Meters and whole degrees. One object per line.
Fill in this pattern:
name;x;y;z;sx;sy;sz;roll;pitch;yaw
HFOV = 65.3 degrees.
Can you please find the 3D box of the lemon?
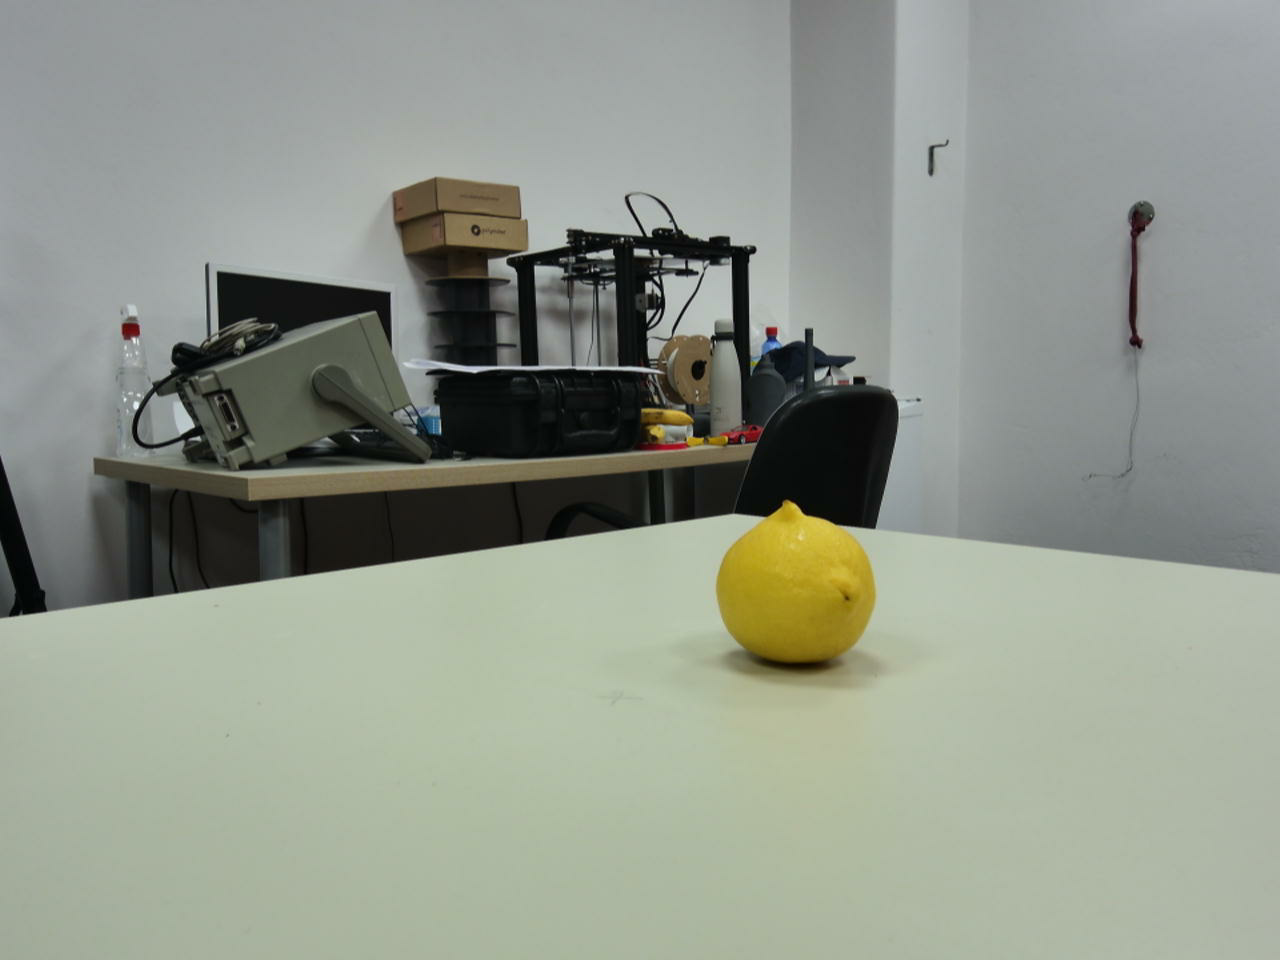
lemon;0.070;0.046;0.450;0.070;0.071;0.071;1;3;16
